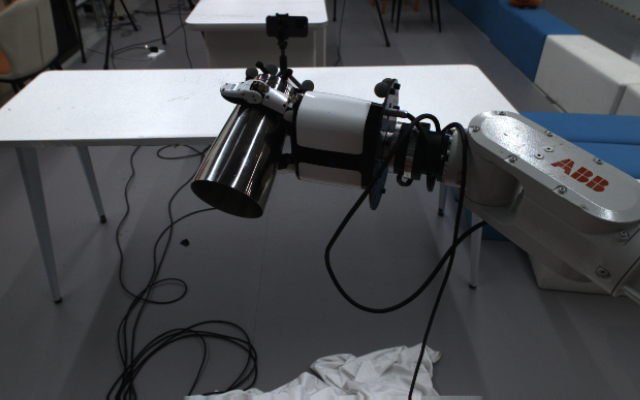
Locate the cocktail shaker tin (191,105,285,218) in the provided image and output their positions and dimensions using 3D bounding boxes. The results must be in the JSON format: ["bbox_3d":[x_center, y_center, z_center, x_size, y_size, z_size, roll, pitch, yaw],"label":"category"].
[{"bbox_3d":[-0.083,-0.076,0.609,0.093,0.093,0.170,12,65,15],"label":"cocktail shaker tin"}]
